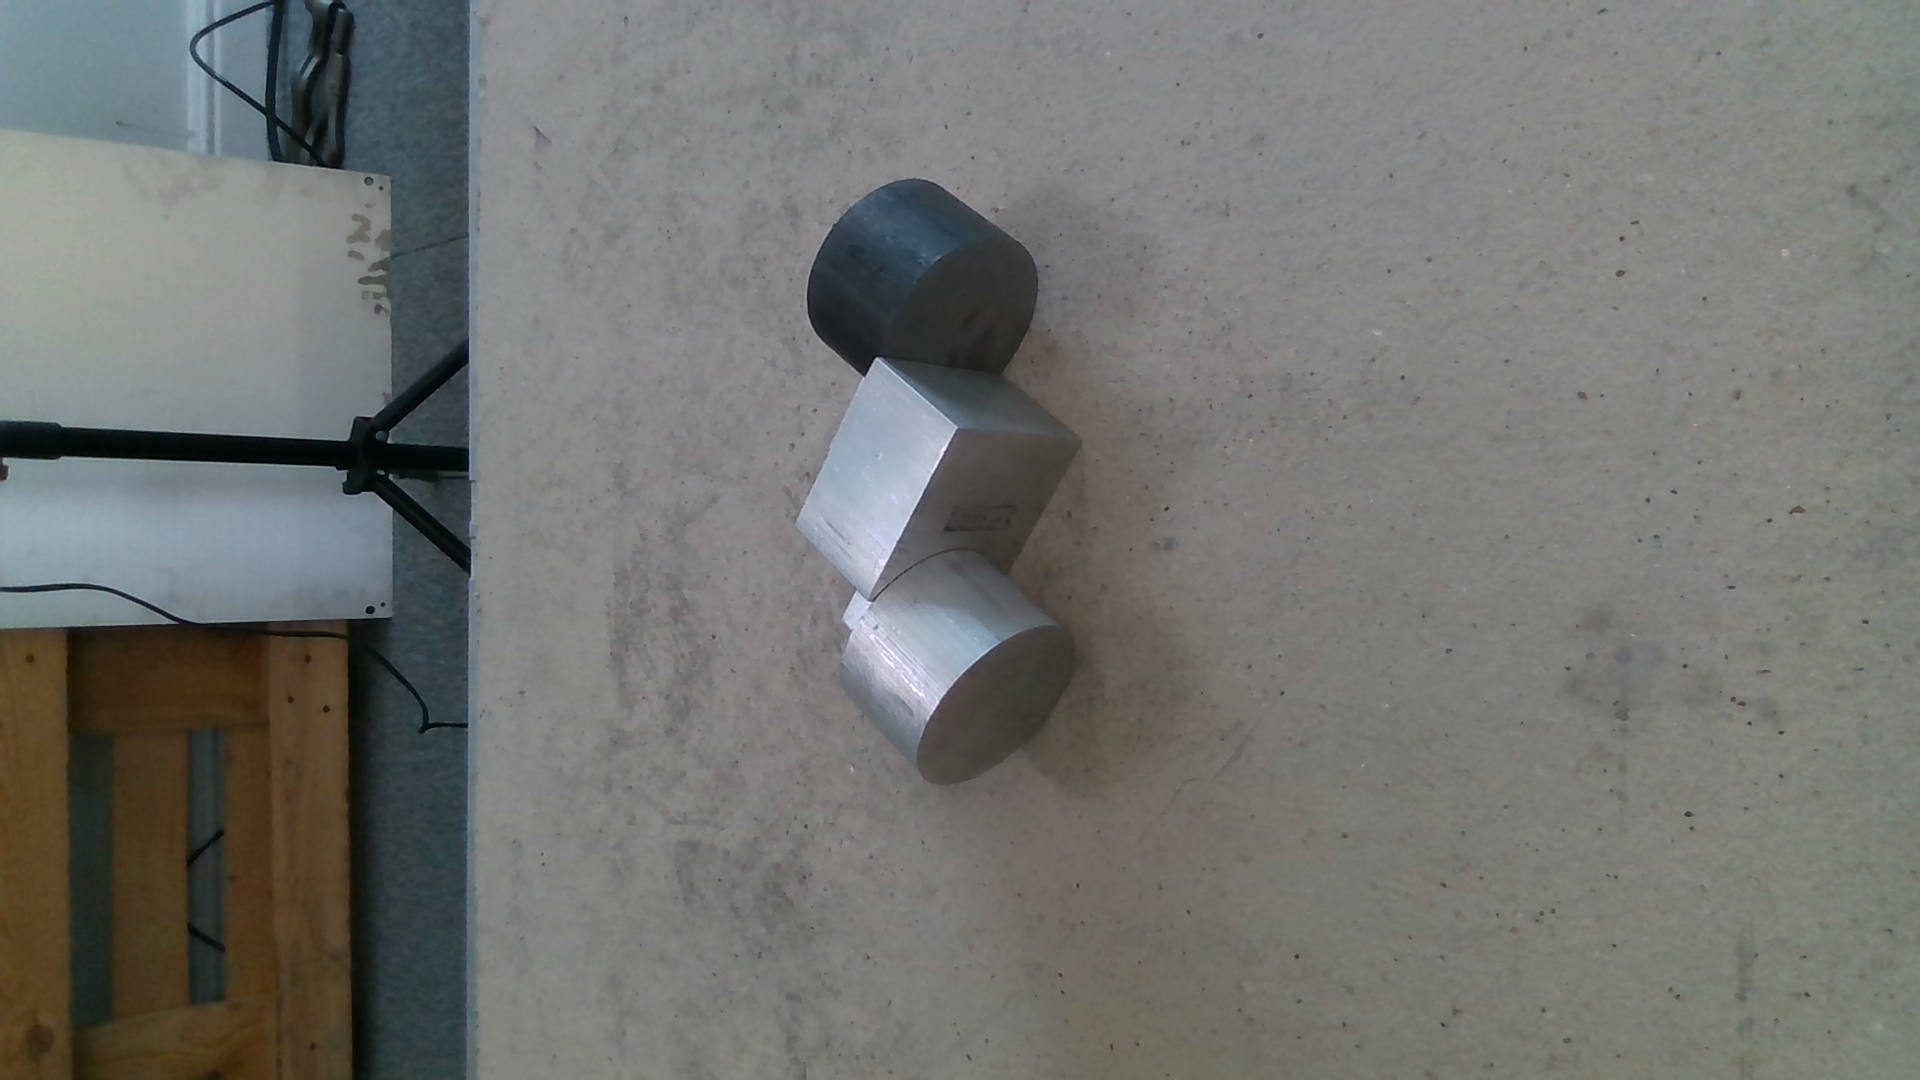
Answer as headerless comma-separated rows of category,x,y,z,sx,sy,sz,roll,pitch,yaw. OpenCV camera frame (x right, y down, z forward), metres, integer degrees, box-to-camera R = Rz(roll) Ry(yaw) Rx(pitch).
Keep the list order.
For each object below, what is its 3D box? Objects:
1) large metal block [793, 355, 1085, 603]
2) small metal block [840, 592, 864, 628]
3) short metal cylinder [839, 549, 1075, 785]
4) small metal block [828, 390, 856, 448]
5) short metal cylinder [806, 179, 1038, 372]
large metal block,-0.008,-0.023,0.554,0.050,0.080,0.080,42,116,32
small metal block,-0.019,0.030,0.600,0.050,0.025,0.050,43,116,32
short metal cylinder,-0.001,0.050,0.548,0.050,0.080,0.080,43,116,32
small metal block,-0.024,-0.048,0.604,0.050,0.025,0.050,43,116,32
short metal cylinder,-0.015,-0.098,0.558,0.050,0.080,0.080,43,116,32
